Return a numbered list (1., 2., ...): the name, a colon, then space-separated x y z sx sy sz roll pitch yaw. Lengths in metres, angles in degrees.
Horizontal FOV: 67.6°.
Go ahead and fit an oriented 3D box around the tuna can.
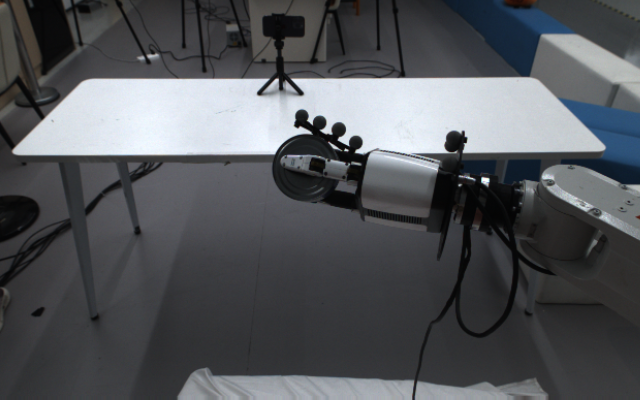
1. tuna can: -0.015 -0.040 0.624 0.085 0.085 0.034 9 -5 10
